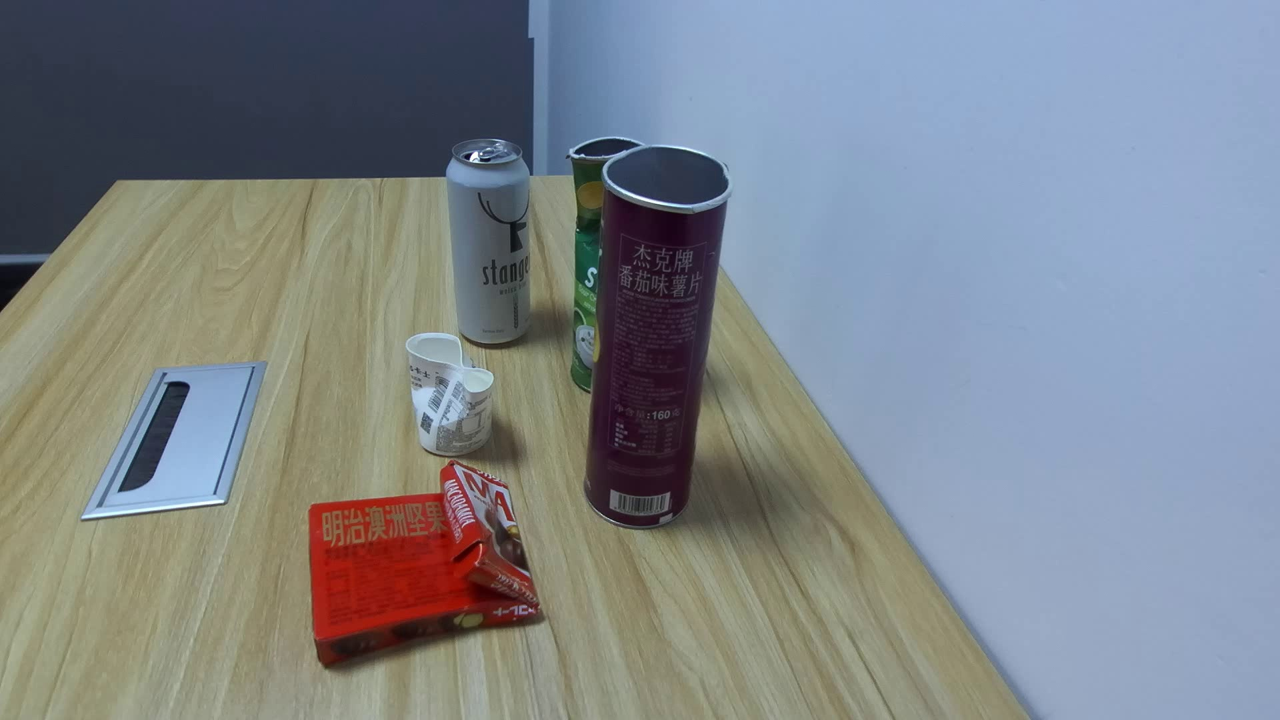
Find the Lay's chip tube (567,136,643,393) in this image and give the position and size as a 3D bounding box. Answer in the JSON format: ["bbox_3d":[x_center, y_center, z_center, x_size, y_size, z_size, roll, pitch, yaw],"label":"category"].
[{"bbox_3d":[-0.018,-0.068,0.556,0.077,0.201,0.069,6,36,4],"label":"Lay's chip tube"}]

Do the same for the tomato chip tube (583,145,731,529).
[{"bbox_3d":[0.008,-0.003,0.434,0.076,0.234,0.080,32,44,32],"label":"tomato chip tube"}]

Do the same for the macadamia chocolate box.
[{"bbox_3d":[-0.133,0.115,0.429,0.127,0.056,0.111,-11,24,-18],"label":"macadamia chocolate box"}]

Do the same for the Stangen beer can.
[{"bbox_3d":[-0.128,-0.097,0.607,0.067,0.171,0.067,4,36,-3],"label":"Stangen beer can"}]

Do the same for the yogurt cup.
[{"bbox_3d":[-0.138,0.027,0.516,0.075,0.071,0.053,12,37,10],"label":"yogurt cup"}]
